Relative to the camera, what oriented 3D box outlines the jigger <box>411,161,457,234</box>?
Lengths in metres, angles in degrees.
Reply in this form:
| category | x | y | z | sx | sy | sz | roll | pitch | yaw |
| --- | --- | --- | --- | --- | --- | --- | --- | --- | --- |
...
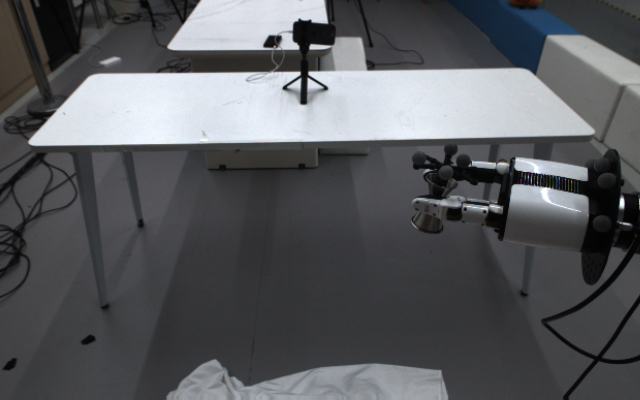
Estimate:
| category | x | y | z | sx | sy | sz | roll | pitch | yaw |
| --- | --- | --- | --- | --- | --- | --- | --- | --- | --- |
| jigger | 0.146 | 0.003 | 0.623 | 0.043 | 0.071 | 0.043 | 9 | 30 | -5 |
